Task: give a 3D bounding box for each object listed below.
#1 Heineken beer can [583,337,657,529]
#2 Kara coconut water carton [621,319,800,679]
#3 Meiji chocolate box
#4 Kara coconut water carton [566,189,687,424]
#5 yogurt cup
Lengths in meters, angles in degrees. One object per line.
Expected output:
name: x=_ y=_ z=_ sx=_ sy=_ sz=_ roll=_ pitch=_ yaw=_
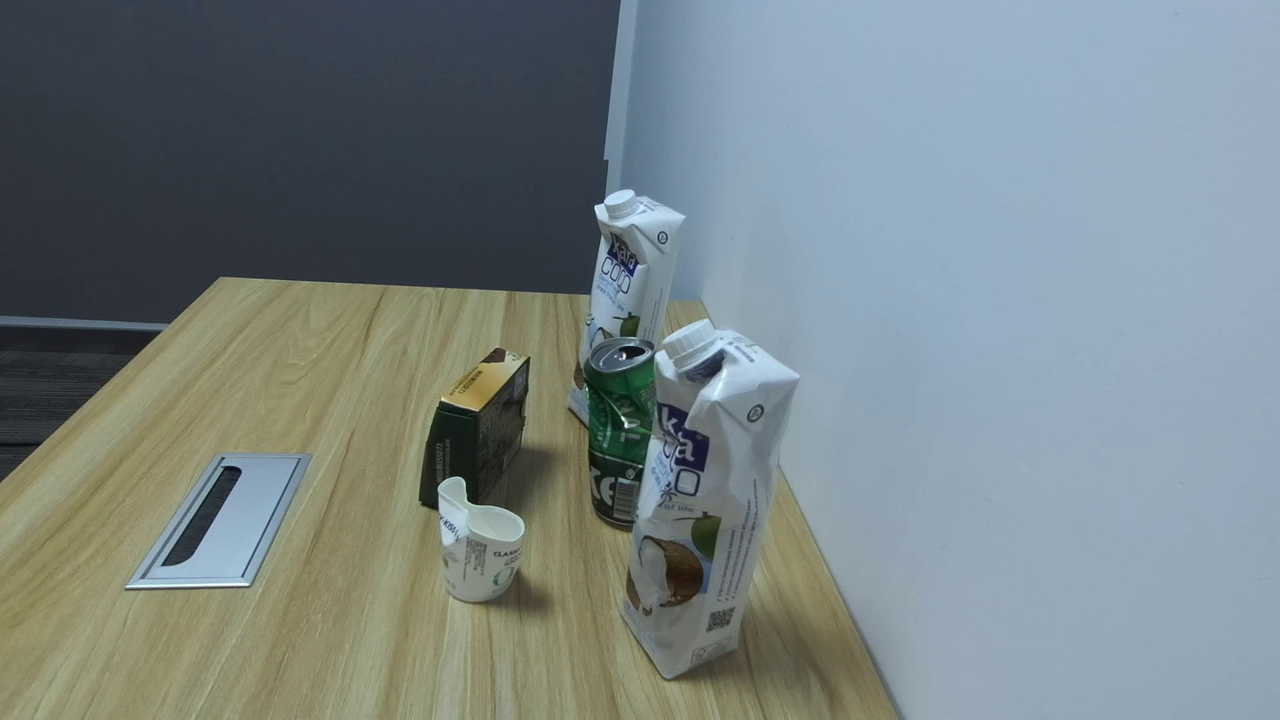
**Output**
Heineken beer can: x=-0.005 y=0.065 z=0.599 sx=0.079 sy=0.159 sz=0.067 roll=-4 pitch=17 yaw=-4
Kara coconut water carton: x=0.038 y=0.086 z=0.453 sx=0.078 sy=0.255 sz=0.083 roll=-6 pitch=31 yaw=-18
Meiji chocolate box: x=-0.144 y=0.058 z=0.621 sx=0.058 sy=0.110 sz=0.113 roll=17 pitch=30 yaw=6
Kara coconut water carton: x=-0.015 y=-0.047 z=0.697 sx=0.071 sy=0.244 sz=0.099 roll=-10 pitch=31 yaw=-32
yogurt cup: x=-0.119 y=0.135 z=0.525 sx=0.075 sy=0.071 sz=0.054 roll=13 pitch=29 yaw=10
